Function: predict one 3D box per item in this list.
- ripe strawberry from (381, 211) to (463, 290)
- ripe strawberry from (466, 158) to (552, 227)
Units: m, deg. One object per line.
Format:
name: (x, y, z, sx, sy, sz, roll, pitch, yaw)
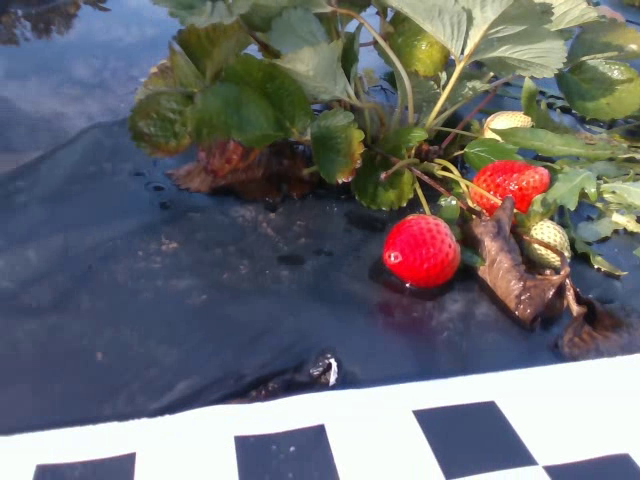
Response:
ripe strawberry: (0.039, 0.004, 0.259, 0.035, 0.030, 0.043, 23, 31, 34)
ripe strawberry: (0.099, -0.030, 0.318, 0.039, 0.032, 0.048, -13, -11, -24)
